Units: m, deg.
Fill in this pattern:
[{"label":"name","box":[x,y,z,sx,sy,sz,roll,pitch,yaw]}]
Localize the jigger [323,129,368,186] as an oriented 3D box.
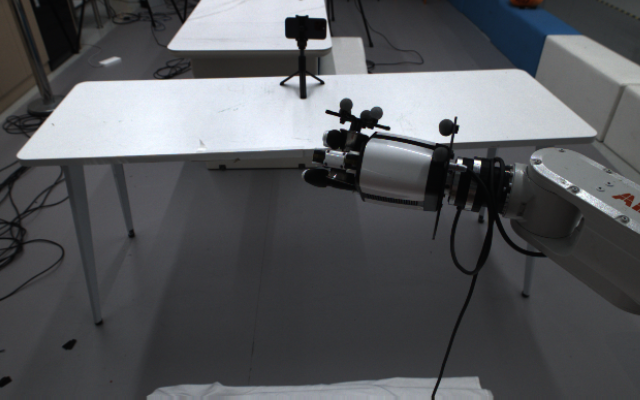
[{"label":"jigger","box":[0.037,-0.058,0.649,0.043,0.071,0.043,17,2,-1]}]
